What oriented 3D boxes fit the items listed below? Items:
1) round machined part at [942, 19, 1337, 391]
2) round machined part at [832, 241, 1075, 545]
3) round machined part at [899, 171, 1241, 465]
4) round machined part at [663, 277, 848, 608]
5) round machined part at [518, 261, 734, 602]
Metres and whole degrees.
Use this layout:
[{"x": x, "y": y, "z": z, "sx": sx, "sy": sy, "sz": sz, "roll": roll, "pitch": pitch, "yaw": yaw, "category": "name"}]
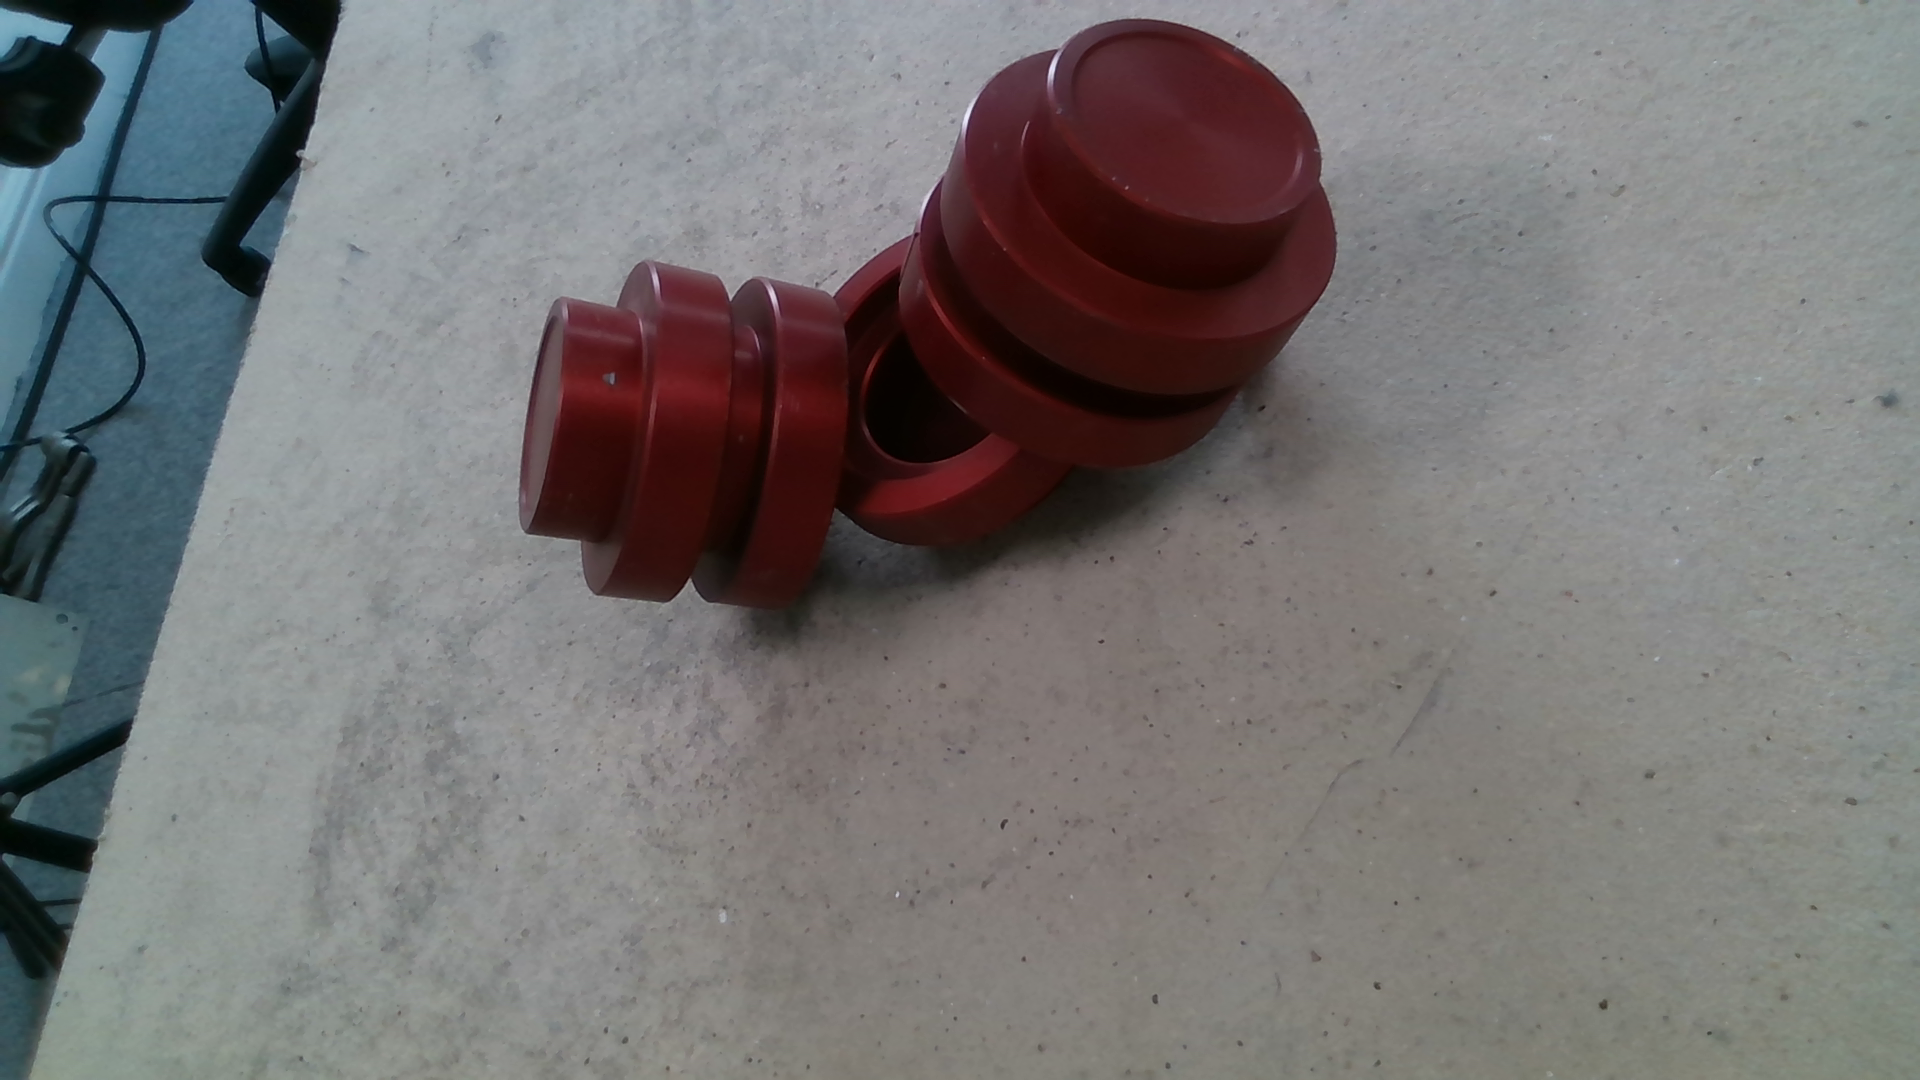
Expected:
[{"x": 0.048, "y": -0.088, "z": 0.337, "sx": 0.098, "sy": 0.042, "sz": 0.098, "roll": 8, "pitch": 57, "yaw": -12, "category": "round machined part"}, {"x": 0.001, "y": -0.043, "z": 0.405, "sx": 0.098, "sy": 0.042, "sz": 0.098, "roll": -14, "pitch": 59, "yaw": 25, "category": "round machined part"}, {"x": 0.035, "y": -0.072, "z": 0.363, "sx": 0.098, "sy": 0.042, "sz": 0.098, "roll": 8, "pitch": 57, "yaw": -12, "category": "round machined part"}, {"x": -0.070, "y": -0.031, "z": 0.410, "sx": 0.098, "sy": 0.042, "sz": 0.098, "roll": -172, "pitch": 90, "yaw": -66, "category": "round machined part"}, {"x": -0.101, "y": -0.033, "z": 0.399, "sx": 0.098, "sy": 0.042, "sz": 0.098, "roll": -32, "pitch": 53, "yaw": 58, "category": "round machined part"}]
